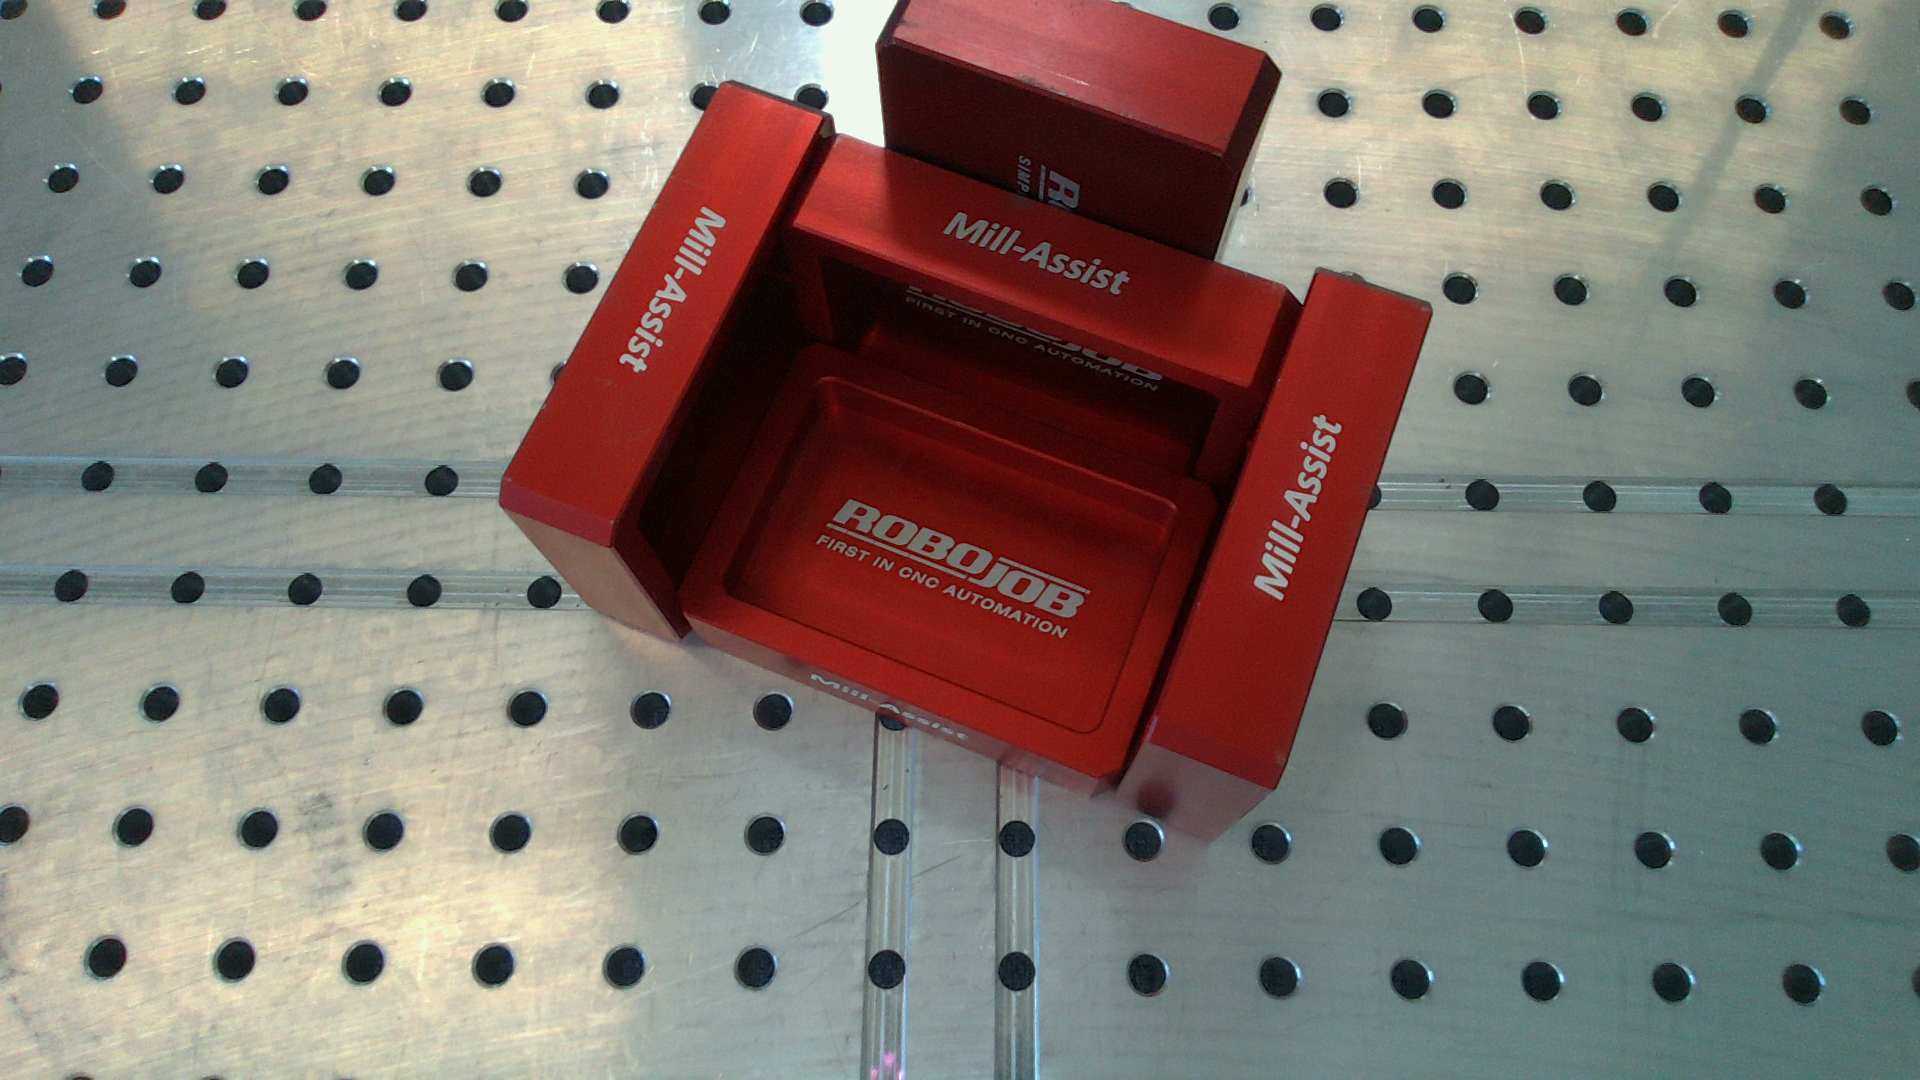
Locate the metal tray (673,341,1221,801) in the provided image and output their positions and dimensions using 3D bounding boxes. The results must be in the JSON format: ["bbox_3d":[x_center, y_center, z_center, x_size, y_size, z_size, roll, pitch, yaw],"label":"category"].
[{"bbox_3d":[-0.003,0.007,0.391,0.130,0.030,0.090,21,71,7],"label":"metal tray"}]

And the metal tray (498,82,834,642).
[{"bbox_3d":[-0.071,-0.046,0.379,0.030,0.090,0.130,21,71,7],"label":"metal tray"}]

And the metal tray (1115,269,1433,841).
[{"bbox_3d":[0.080,0.007,0.360,0.030,0.090,0.130,20,71,7],"label":"metal tray"}]

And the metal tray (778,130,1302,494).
[{"bbox_3d":[0.019,-0.056,0.383,0.130,0.090,0.030,21,72,7],"label":"metal tray"}]

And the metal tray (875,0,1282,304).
[{"bbox_3d":[0.027,-0.091,0.374,0.090,0.130,0.030,21,72,7],"label":"metal tray"}]
